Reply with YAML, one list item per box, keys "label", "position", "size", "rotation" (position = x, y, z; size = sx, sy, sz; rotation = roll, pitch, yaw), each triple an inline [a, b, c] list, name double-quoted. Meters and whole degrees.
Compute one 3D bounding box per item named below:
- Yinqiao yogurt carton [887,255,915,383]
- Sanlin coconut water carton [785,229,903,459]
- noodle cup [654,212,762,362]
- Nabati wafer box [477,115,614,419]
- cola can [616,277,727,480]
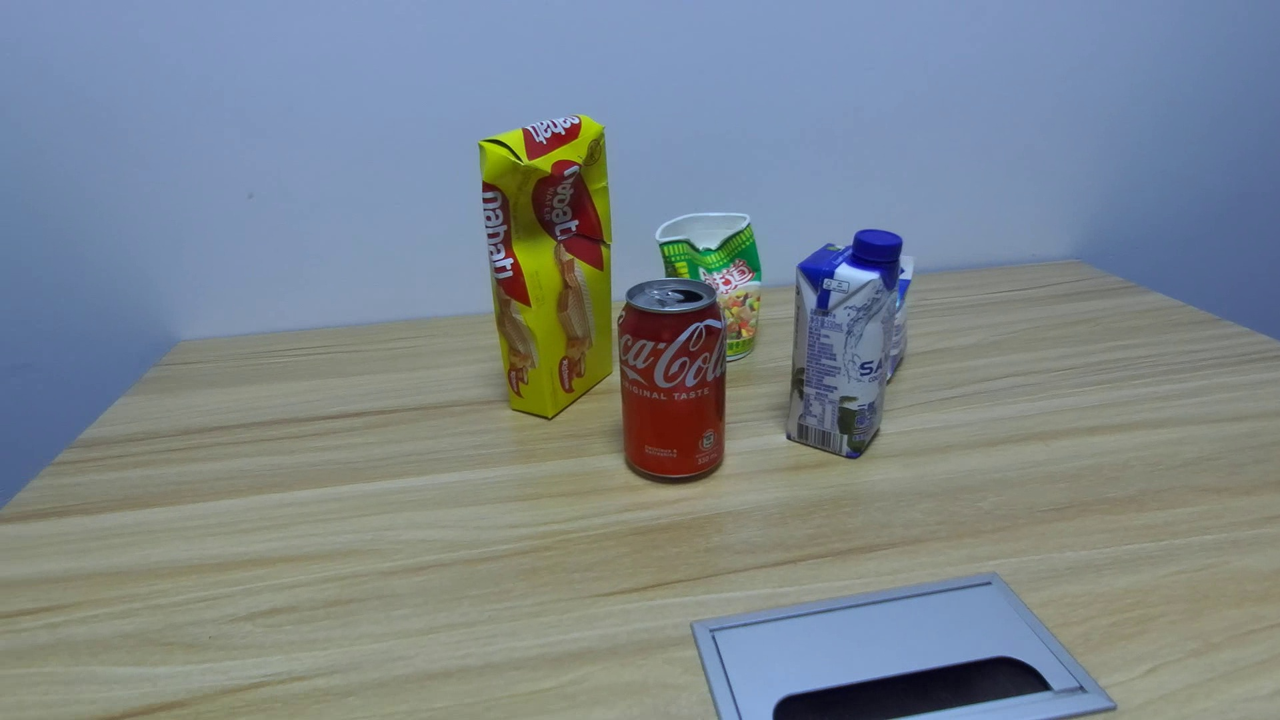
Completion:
- label: "Yinqiao yogurt carton"
  position: [0.182, -0.041, 0.585]
  size: [0.077, 0.094, 0.071]
  rotation: [12, 26, 26]
- label: "Sanlin coconut water carton"
  position: [0.132, -0.012, 0.458]
  size: [0.060, 0.144, 0.061]
  rotation: [13, 30, 31]
- label: "noodle cup"
  position: [0.064, -0.063, 0.606]
  size: [0.083, 0.122, 0.075]
  rotation: [-12, 18, 4]
- label: "Nabati wafer box"
  position: [-0.064, -0.066, 0.515]
  size: [0.042, 0.204, 0.107]
  rotation: [14, 30, 28]
- label: "cola can"
  position: [0.022, 0.011, 0.444]
  size: [0.068, 0.120, 0.068]
  rotation: [-2, 25, 1]
